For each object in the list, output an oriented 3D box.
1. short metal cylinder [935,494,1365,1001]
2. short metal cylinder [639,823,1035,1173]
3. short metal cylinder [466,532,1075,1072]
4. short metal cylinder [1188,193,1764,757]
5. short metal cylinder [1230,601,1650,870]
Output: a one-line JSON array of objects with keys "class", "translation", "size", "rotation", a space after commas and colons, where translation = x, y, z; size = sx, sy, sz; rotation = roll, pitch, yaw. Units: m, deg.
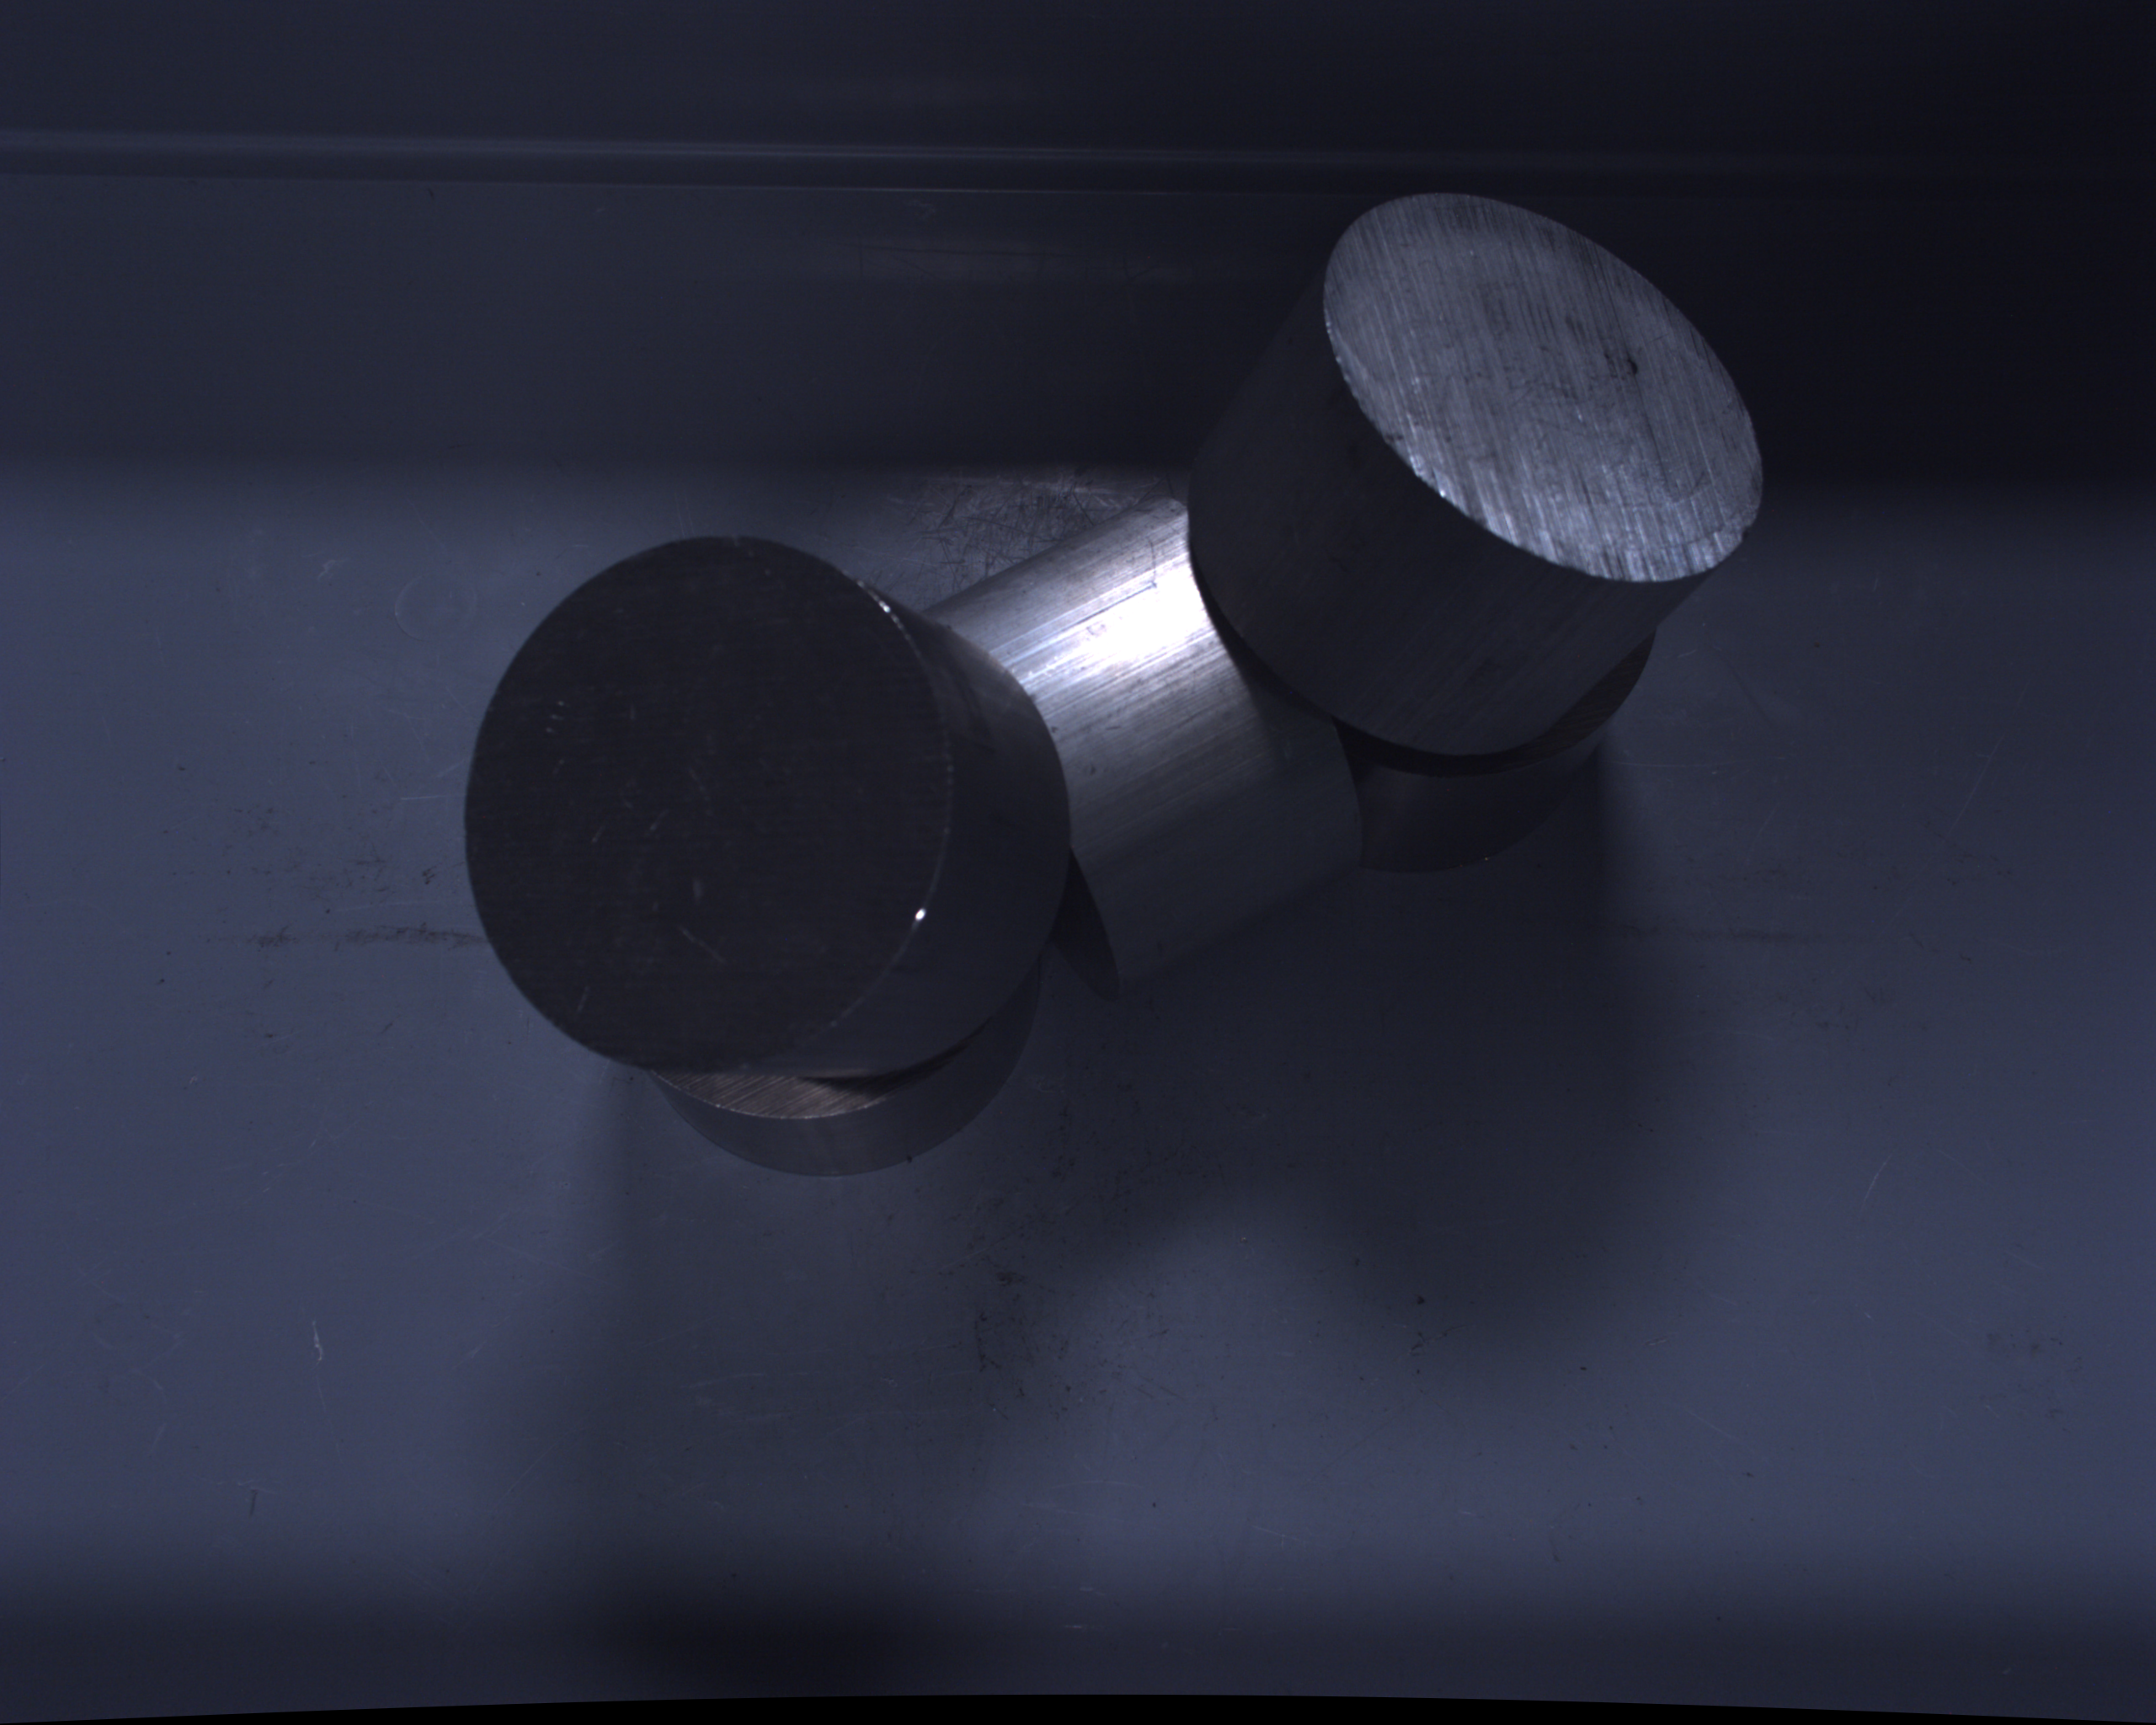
[{"class": "short metal cylinder", "translation": [0.010, -0.021, 0.386], "size": [0.050, 0.080, 0.080], "rotation": [-28, 73, -10]}, {"class": "short metal cylinder", "translation": [-0.048, 0.014, 0.389], "size": [0.081, 0.050, 0.080], "rotation": [0, 70, 0]}, {"class": "short metal cylinder", "translation": [-0.047, -0.007, 0.328], "size": [0.080, 0.050, 0.080], "rotation": [-2, 83, 19]}, {"class": "short metal cylinder", "translation": [0.066, -0.065, 0.350], "size": [0.081, 0.050, 0.080], "rotation": [12, 55, -18]}, {"class": "short metal cylinder", "translation": [0.068, -0.044, 0.412], "size": [0.081, 0.050, 0.080], "rotation": [0, 70, 0]}]
